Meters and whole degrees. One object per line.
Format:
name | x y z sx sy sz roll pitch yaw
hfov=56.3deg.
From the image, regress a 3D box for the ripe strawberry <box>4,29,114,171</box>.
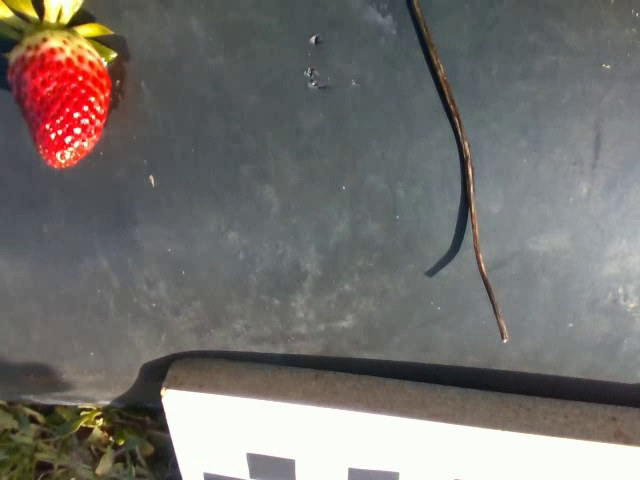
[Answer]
ripe strawberry | -0.067 -0.035 0.154 0.028 0.041 0.031 -15 -23 22
